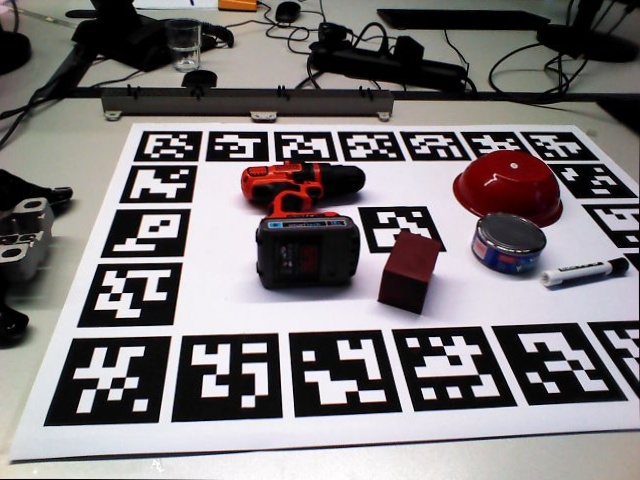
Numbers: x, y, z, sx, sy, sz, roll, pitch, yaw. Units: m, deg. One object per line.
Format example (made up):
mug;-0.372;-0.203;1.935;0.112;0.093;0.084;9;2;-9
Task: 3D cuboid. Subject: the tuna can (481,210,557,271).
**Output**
tuna can;0.251;0.000;0.657;0.086;0.034;0.085;4;39;-3

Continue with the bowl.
bowl;0.288;-0.083;0.760;0.162;0.055;0.161;-1;33;0

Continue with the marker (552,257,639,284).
marker;0.341;0.037;0.630;0.121;0.020;0.019;-7;43;-13

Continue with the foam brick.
foam brick;0.113;0.040;0.595;0.051;0.053;0.077;16;42;12

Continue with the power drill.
power drill;-0.012;-0.033;0.666;0.184;0.057;0.186;1;37;-9
